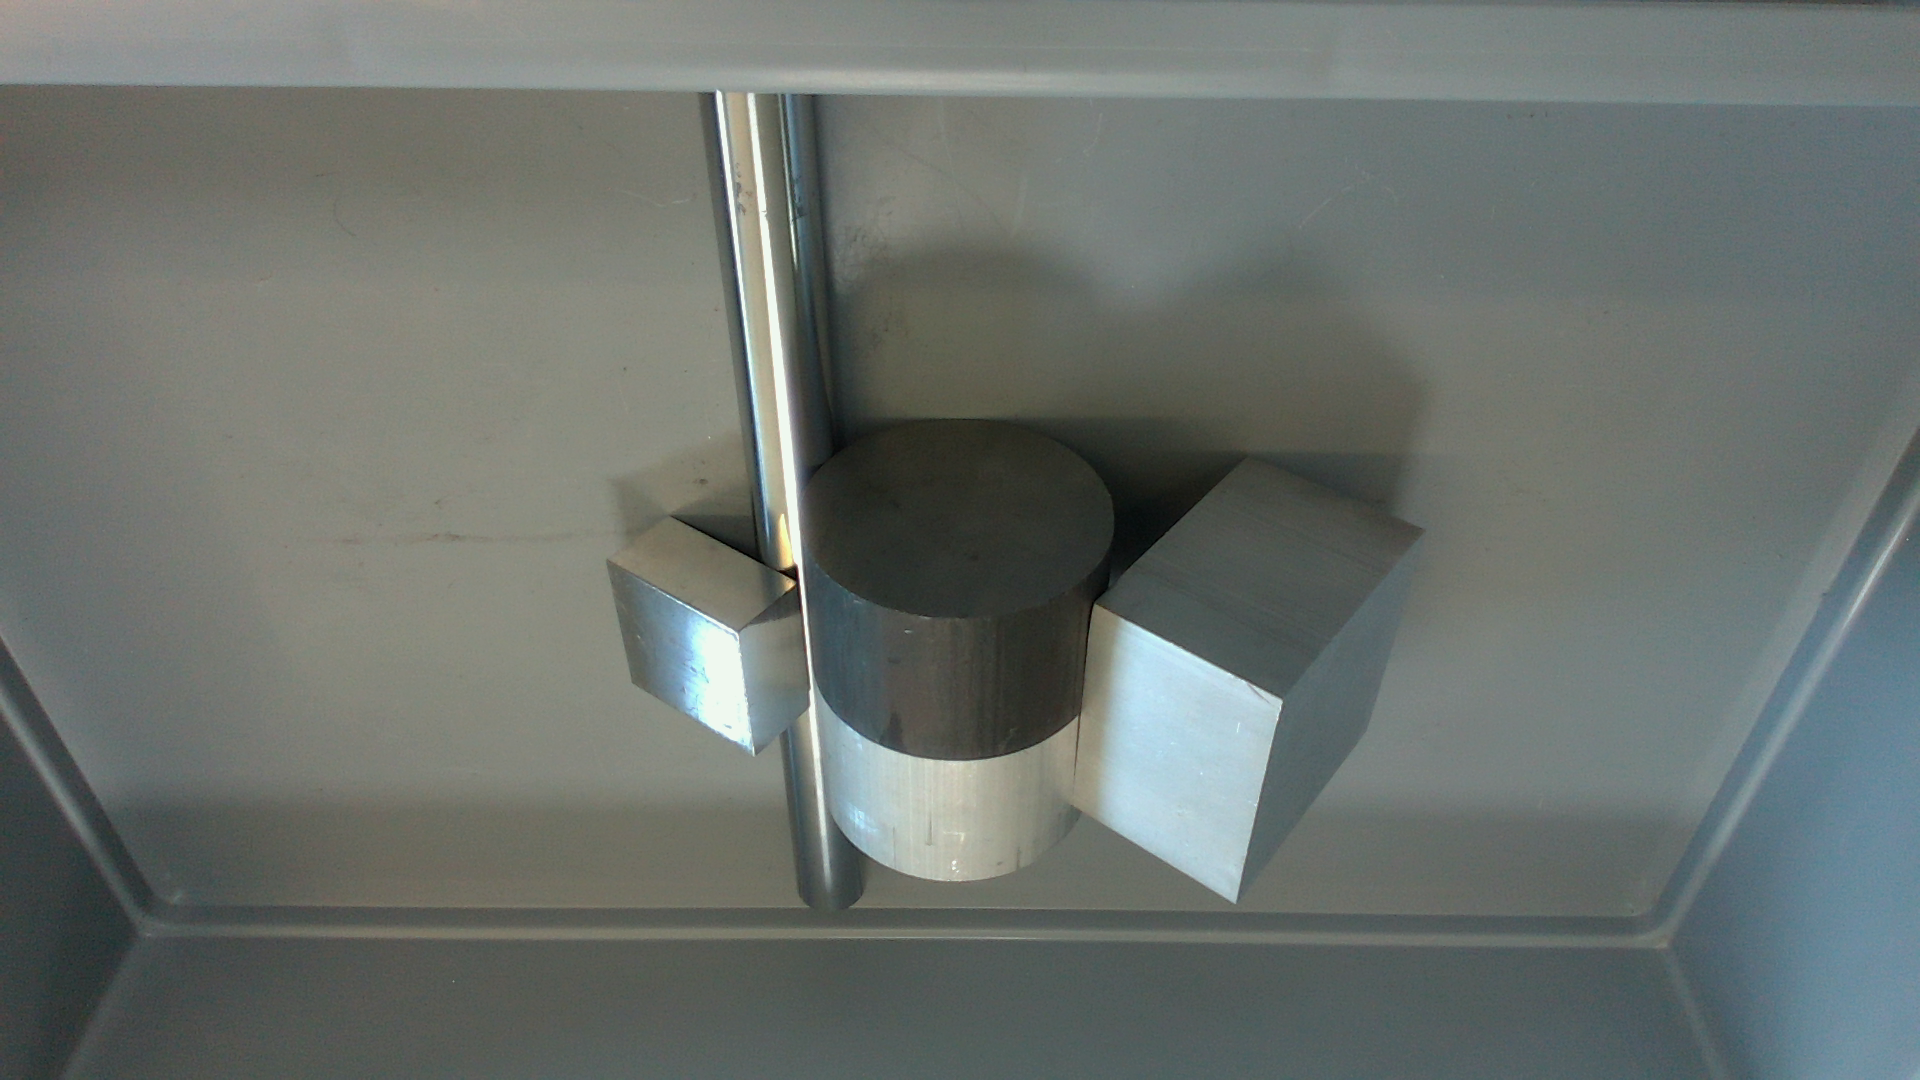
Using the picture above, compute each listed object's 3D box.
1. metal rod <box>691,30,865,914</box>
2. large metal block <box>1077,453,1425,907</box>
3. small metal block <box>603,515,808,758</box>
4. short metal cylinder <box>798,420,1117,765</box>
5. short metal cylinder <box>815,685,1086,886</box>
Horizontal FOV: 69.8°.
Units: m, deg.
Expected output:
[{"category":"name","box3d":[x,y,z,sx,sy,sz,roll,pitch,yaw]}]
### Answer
[{"category":"metal rod","box3d":[-0.046,0.008,0.395,0.025,0.025,0.300,0,130,0]},{"category":"large metal block","box3d":[0.078,0.037,0.375,0.050,0.080,0.080,27,137,27]},{"category":"small metal block","box3d":[-0.072,0.028,0.397,0.050,0.025,0.050,24,135,26]},{"category":"short metal cylinder","box3d":[-0.001,0.012,0.362,0.080,0.080,0.050,0,130,0]},{"category":"short metal cylinder","box3d":[-0.001,0.051,0.395,0.080,0.080,0.050,0,130,0]}]
